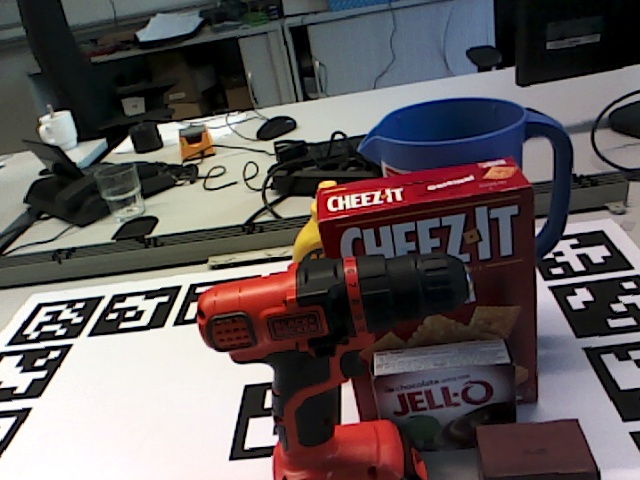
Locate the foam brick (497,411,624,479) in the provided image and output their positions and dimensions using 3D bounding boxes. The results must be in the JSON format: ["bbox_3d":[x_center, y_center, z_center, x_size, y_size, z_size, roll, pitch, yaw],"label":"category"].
[{"bbox_3d":[0.179,0.170,0.467,0.078,0.051,0.053,-8,31,7],"label":"foam brick"}]

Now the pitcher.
[{"bbox_3d":[0.157,-0.014,0.612,0.189,0.241,0.133,-8,29,11],"label":"pitcher"}]

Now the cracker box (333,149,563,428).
[{"bbox_3d":[0.113,0.049,0.529,0.164,0.213,0.072,-12,27,4],"label":"cracker box"}]

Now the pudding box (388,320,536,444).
[{"bbox_3d":[0.116,0.120,0.513,0.114,0.089,0.039,-11,27,7],"label":"pudding box"}]

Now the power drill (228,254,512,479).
[{"bbox_3d":[0.043,0.101,0.431,0.185,0.186,0.057,-10,25,3],"label":"power drill"}]

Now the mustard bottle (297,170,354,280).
[{"bbox_3d":[0.028,0.018,0.628,0.096,0.191,0.058,-3,31,17],"label":"mustard bottle"}]
